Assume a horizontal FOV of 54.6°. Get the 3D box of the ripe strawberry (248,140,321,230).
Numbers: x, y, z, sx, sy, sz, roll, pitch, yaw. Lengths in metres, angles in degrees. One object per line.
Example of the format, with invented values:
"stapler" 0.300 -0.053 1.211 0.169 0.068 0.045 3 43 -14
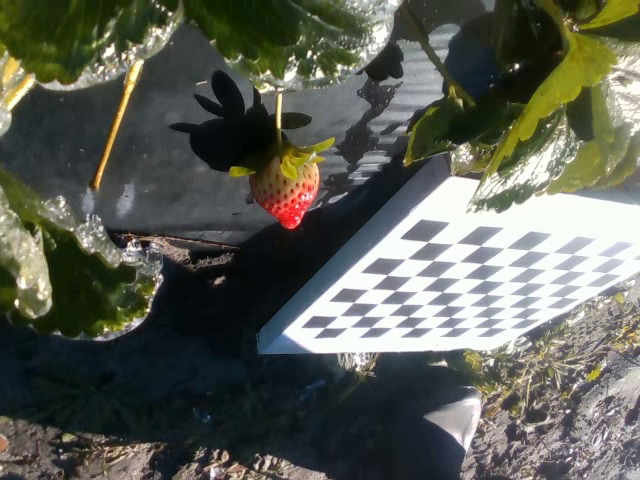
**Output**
"ripe strawberry" -0.016 -0.025 0.300 0.039 0.053 0.041 -7 45 -11
